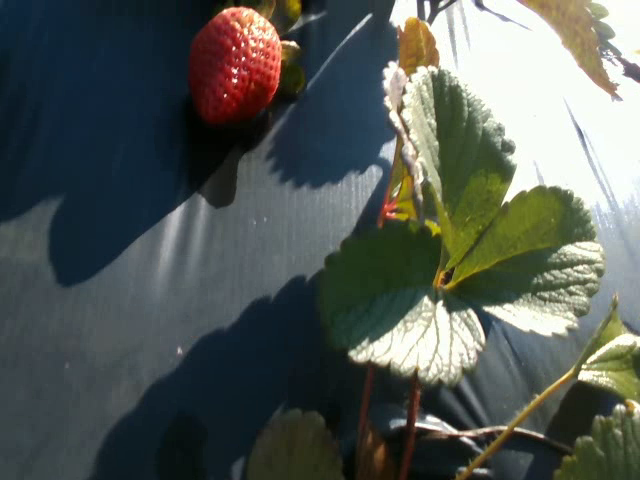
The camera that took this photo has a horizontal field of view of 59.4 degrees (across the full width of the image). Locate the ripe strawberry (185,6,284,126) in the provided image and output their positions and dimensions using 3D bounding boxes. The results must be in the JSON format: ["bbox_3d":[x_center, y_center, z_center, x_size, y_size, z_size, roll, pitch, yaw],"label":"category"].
[{"bbox_3d":[-0.033,-0.064,0.208,0.044,0.064,0.043,-22,-49,31],"label":"ripe strawberry"}]
